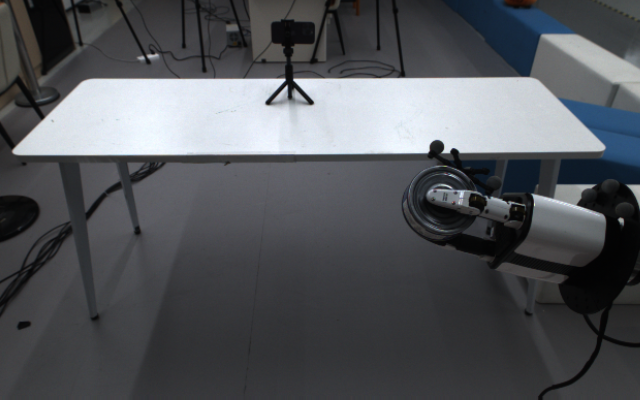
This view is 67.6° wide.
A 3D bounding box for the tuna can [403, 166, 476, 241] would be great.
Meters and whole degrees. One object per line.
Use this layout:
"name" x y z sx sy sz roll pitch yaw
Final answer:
"tuna can" 0.144 0.002 0.571 0.085 0.034 0.085 0 74 0
